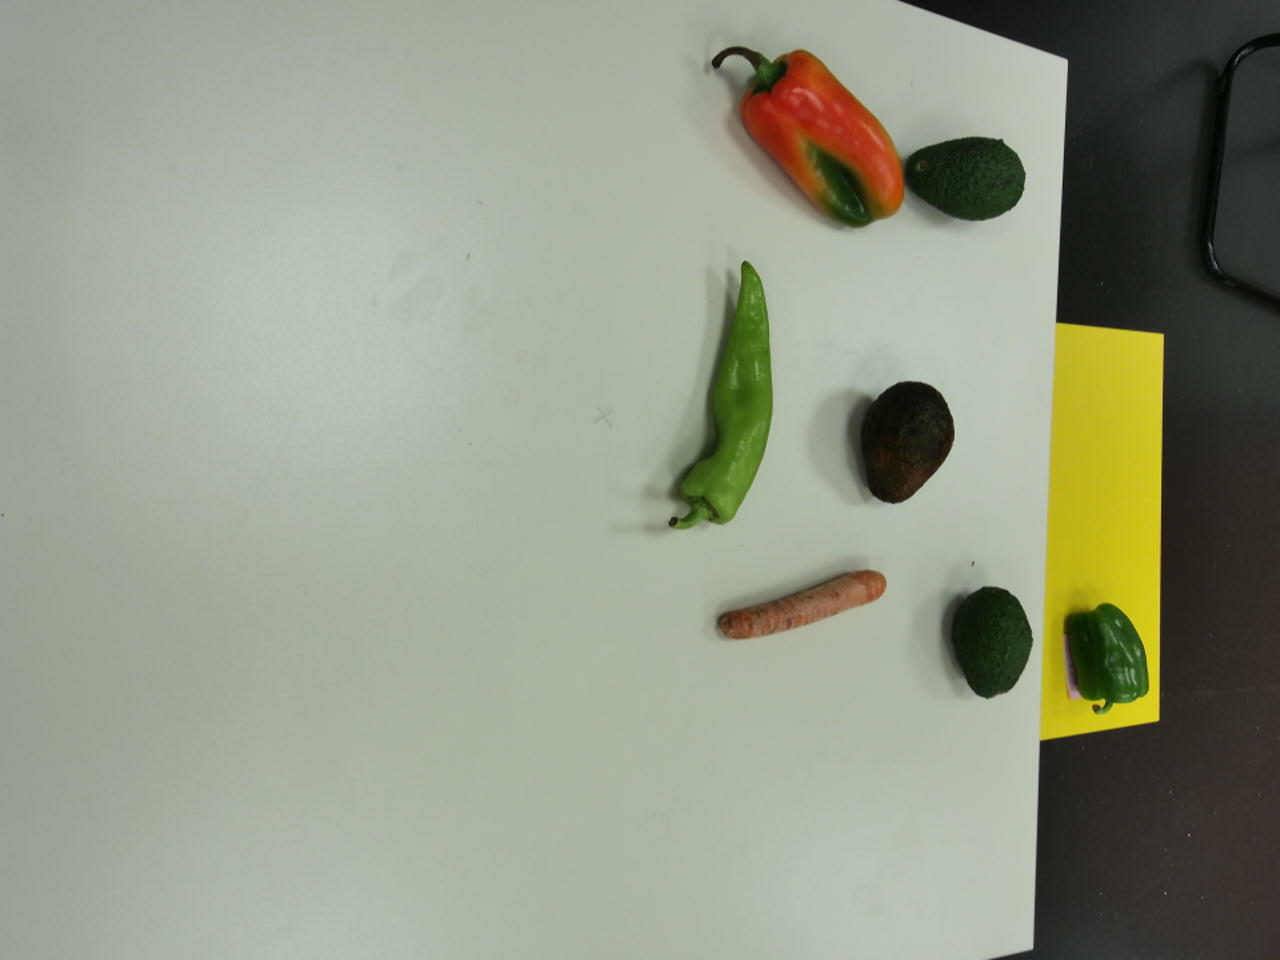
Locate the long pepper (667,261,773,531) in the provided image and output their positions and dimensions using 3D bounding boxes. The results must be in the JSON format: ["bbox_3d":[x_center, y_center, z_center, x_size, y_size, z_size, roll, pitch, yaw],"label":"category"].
[{"bbox_3d":[0.071,-0.054,0.724,0.065,0.045,0.204,22,80,-27],"label":"long pepper"}]
